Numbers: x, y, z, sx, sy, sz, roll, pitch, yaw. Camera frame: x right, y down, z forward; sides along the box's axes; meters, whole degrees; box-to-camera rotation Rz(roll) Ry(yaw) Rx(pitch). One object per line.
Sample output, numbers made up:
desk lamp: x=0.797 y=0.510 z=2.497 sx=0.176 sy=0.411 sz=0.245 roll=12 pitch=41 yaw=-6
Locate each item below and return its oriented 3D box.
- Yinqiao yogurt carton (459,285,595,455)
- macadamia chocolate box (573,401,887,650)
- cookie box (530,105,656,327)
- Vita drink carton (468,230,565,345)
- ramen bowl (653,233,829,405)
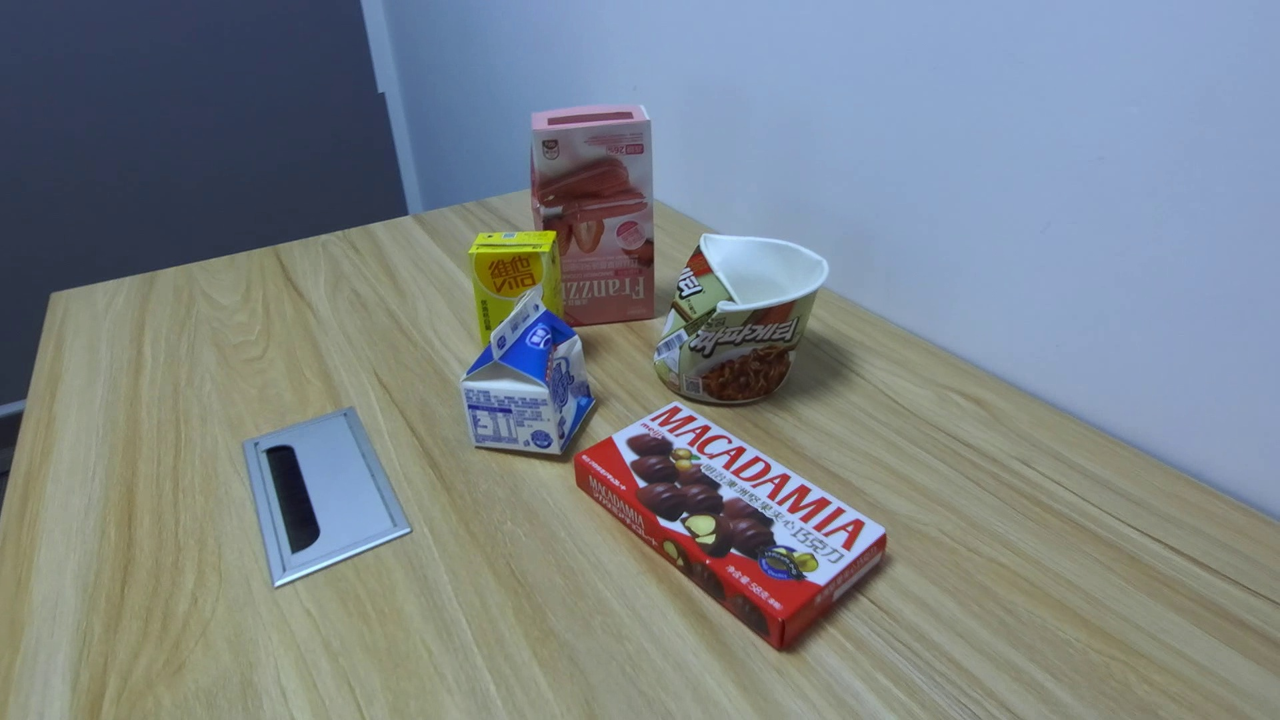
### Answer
Yinqiao yogurt carton: x=-0.081 y=0.008 z=0.509 sx=0.071 sy=0.094 sz=0.077 roll=3 pitch=31 yaw=20
macadamia chocolate box: x=0.050 y=0.090 z=0.438 sx=0.096 sy=0.027 sz=0.177 roll=-25 pitch=39 yaw=-33
cookie box: x=-0.041 y=-0.122 z=0.619 sx=0.105 sy=0.188 sz=0.048 roll=-6 pitch=34 yaw=-5
Vita drink carton: x=-0.098 y=-0.048 z=0.582 sx=0.066 sy=0.109 sz=0.043 roll=-1 pitch=30 yaw=2
ramen bowl: x=0.076 y=-0.030 z=0.555 sx=0.137 sy=0.098 sz=0.137 roll=-1 pitch=35 yaw=1
